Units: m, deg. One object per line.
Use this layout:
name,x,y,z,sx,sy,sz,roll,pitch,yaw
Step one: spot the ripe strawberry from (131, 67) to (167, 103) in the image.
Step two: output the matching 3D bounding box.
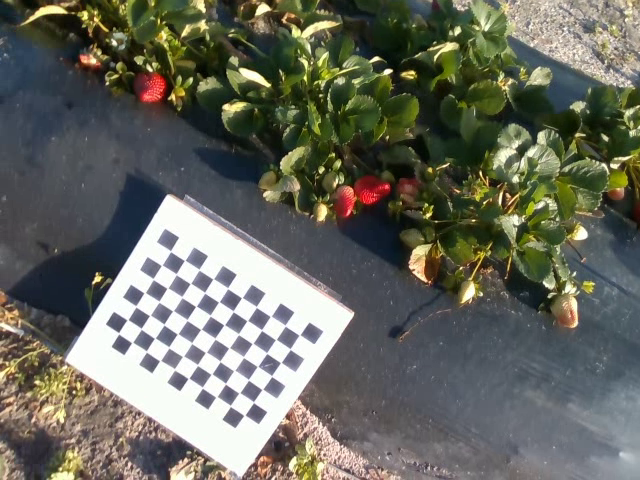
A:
ripe strawberry,-0.234,-0.209,0.802,0.052,0.041,0.051,3,38,3
